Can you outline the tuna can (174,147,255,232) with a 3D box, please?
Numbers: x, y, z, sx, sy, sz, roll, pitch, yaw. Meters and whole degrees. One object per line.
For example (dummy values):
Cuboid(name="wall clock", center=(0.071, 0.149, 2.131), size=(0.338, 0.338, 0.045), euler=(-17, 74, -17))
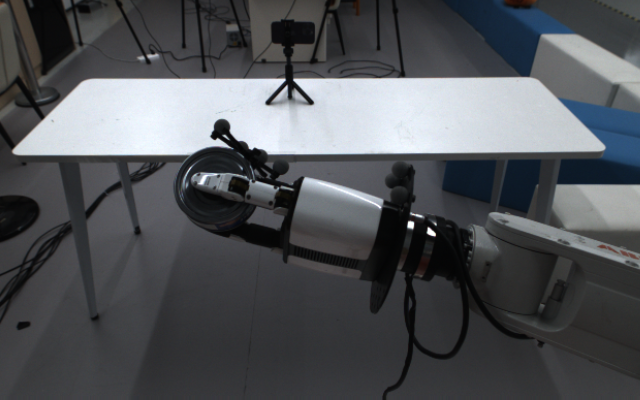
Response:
Cuboid(name="tuna can", center=(-0.105, -0.012, 0.509), size=(0.085, 0.034, 0.085), euler=(0, 74, 0))
